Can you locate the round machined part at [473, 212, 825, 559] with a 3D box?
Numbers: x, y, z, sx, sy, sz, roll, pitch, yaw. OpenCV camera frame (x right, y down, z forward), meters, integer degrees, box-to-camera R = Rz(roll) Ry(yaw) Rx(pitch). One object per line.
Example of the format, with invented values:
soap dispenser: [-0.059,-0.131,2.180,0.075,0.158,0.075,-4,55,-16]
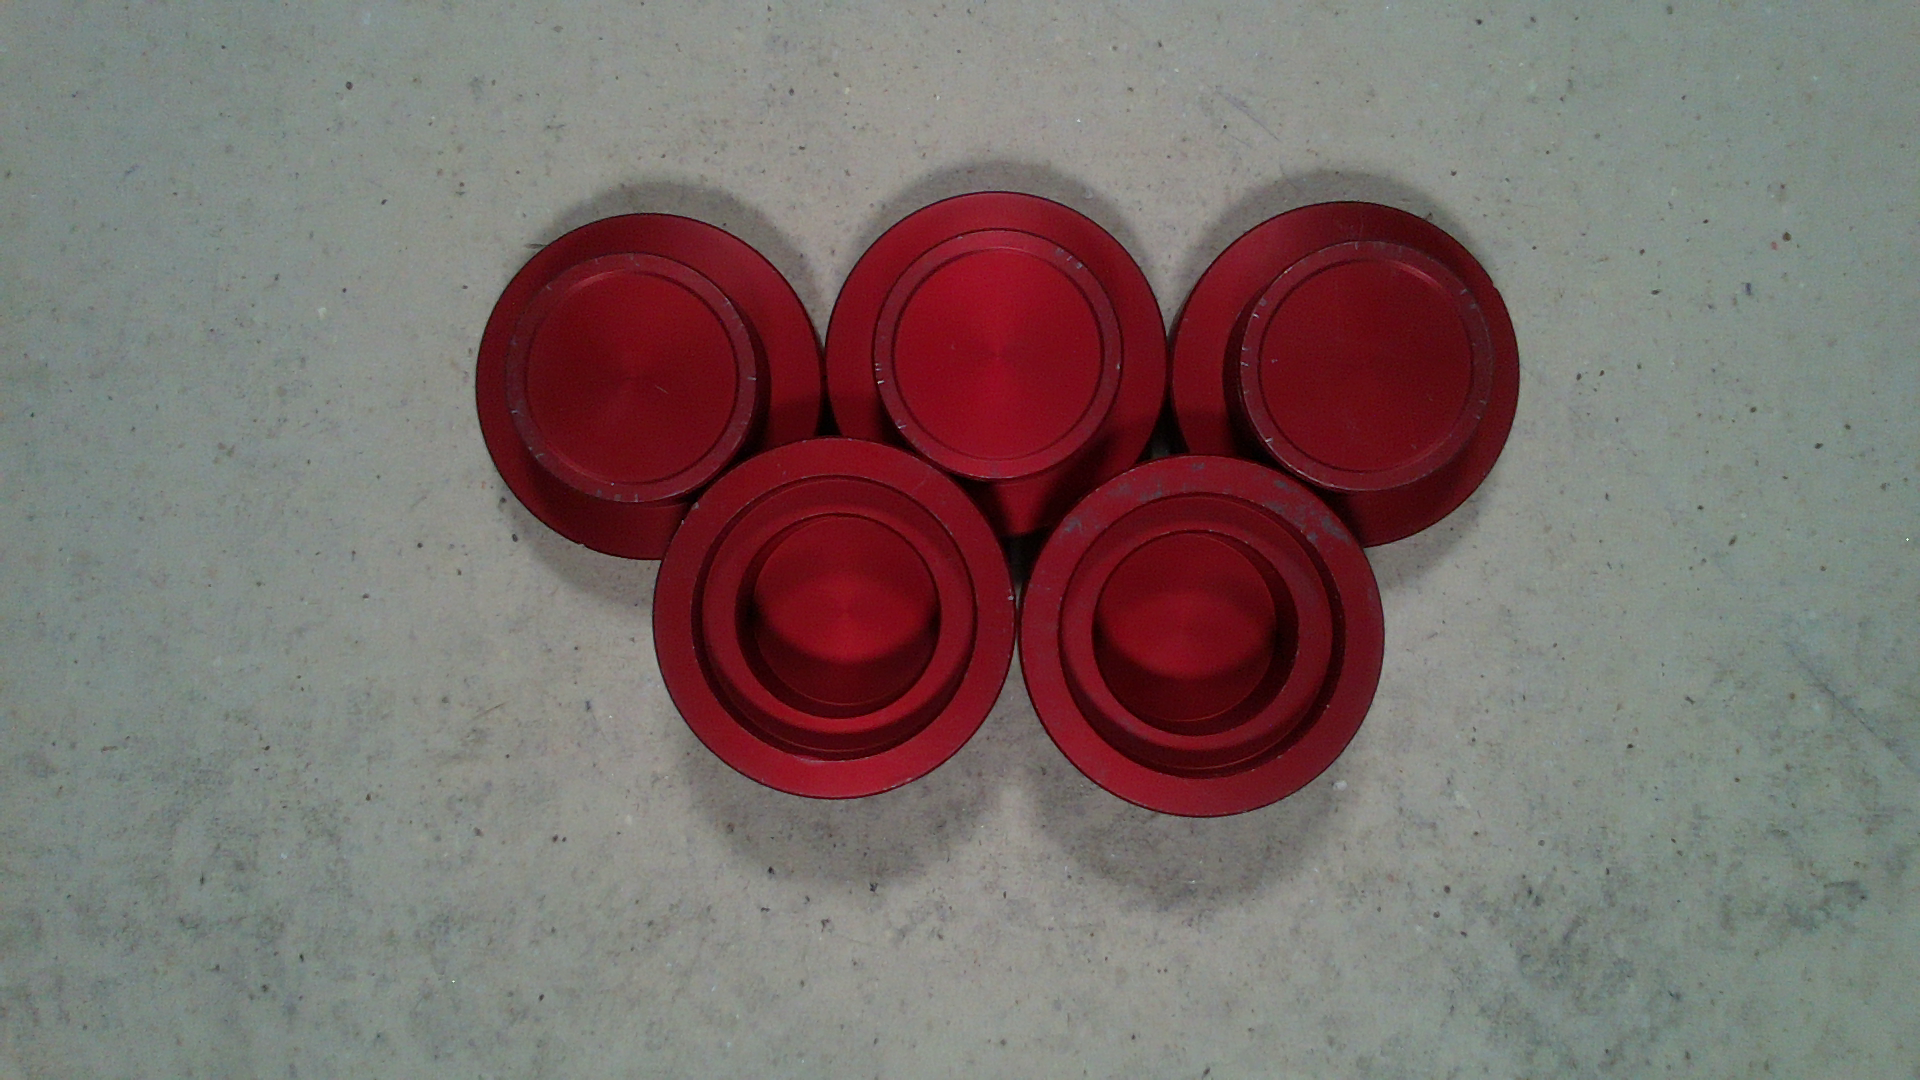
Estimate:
round machined part: [-0.088,-0.043,0.387,0.098,0.042,0.098,0,90,0]

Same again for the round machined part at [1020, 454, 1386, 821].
round machined part: [0.065,0.026,0.387,0.098,0.042,0.098,0,90,0]

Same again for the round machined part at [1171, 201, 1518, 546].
round machined part: [0.109,-0.047,0.387,0.098,0.042,0.098,0,90,0]

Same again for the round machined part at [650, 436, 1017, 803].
round machined part: [-0.034,0.021,0.387,0.098,0.042,0.098,0,90,0]

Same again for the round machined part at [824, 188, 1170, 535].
round machined part: [0.010,-0.050,0.387,0.098,0.042,0.098,0,90,0]
